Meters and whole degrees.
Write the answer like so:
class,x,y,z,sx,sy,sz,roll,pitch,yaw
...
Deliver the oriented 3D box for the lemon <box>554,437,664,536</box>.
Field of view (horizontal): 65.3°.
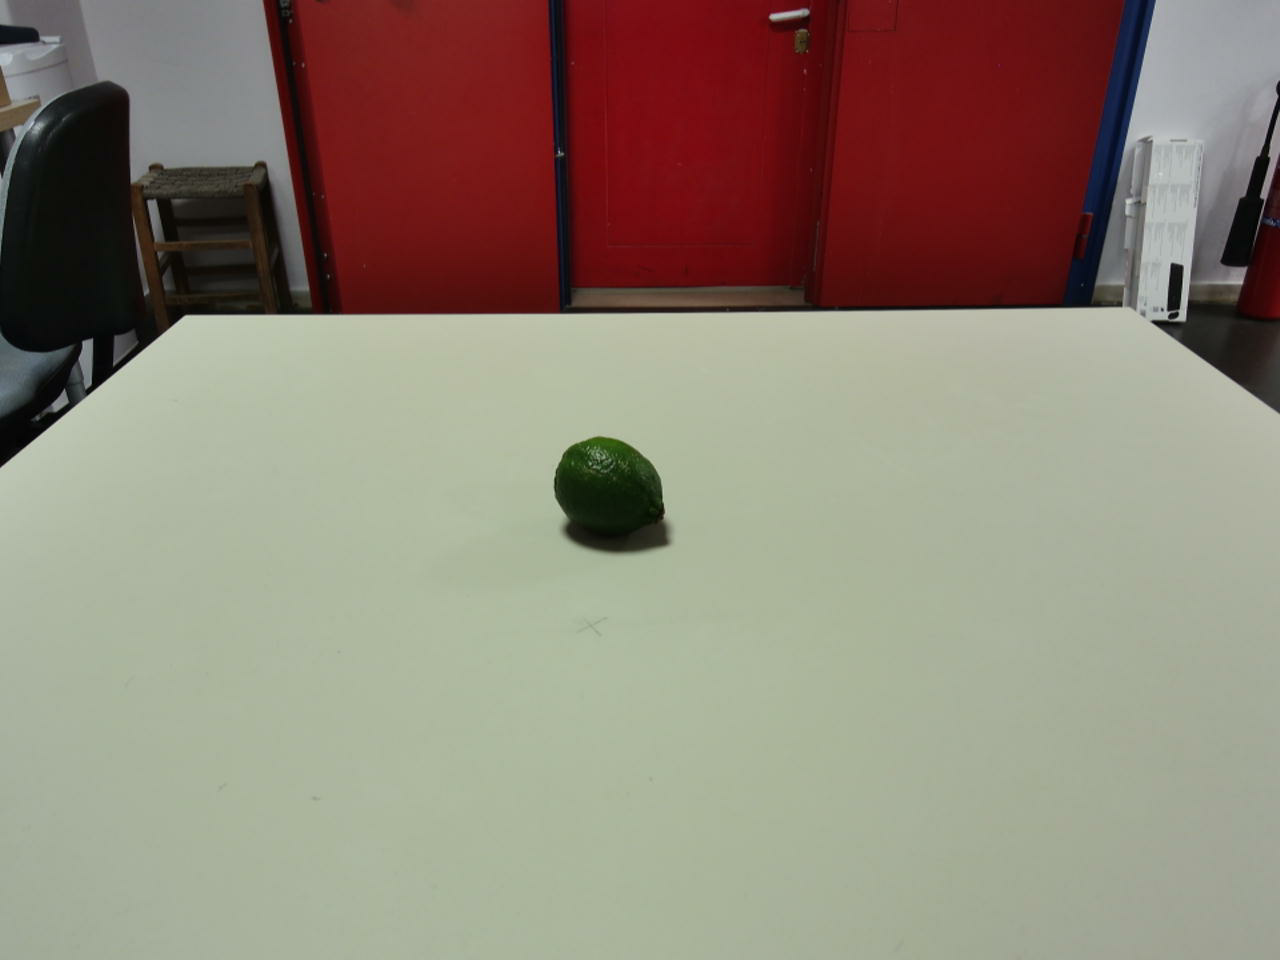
class,x,y,z,sx,sy,sz,roll,pitch,yaw
lemon,-0.017,0.003,0.530,0.057,0.051,0.054,-3,26,-4
